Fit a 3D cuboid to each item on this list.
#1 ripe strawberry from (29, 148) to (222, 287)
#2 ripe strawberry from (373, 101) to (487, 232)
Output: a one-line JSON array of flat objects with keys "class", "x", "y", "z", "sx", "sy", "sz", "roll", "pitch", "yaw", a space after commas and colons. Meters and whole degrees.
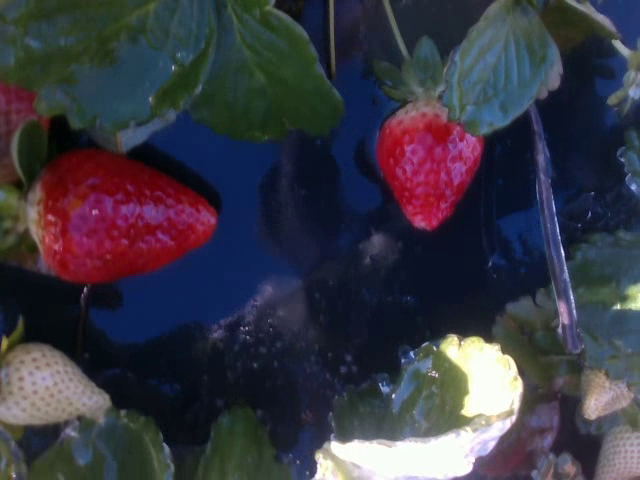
[{"class": "ripe strawberry", "x": -0.055, "y": -0.002, "z": 0.191, "sx": 0.056, "sy": 0.044, "sz": 0.040, "roll": 3, "pitch": 28, "yaw": -25}, {"class": "ripe strawberry", "x": 0.037, "y": -0.022, "z": 0.200, "sx": 0.039, "sy": 0.047, "sz": 0.040, "roll": -7, "pitch": 21, "yaw": -19}]
